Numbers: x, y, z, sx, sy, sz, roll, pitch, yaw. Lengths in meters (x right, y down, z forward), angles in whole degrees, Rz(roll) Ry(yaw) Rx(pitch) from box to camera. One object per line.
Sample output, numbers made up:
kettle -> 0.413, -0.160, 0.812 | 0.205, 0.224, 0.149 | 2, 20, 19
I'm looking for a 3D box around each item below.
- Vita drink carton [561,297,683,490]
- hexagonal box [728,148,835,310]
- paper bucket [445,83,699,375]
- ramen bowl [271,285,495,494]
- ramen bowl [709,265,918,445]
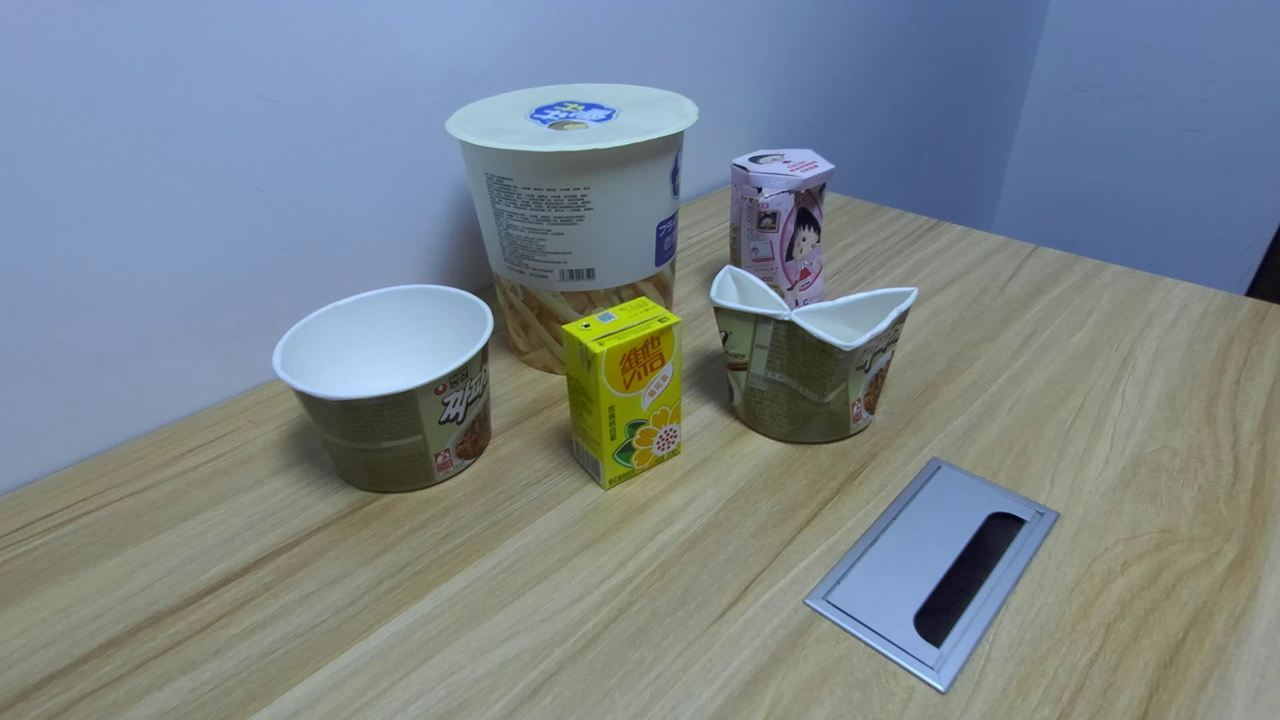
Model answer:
Vita drink carton -> -0.009, 0.021, 0.466 | 0.067, 0.109, 0.043 | -22, 38, -28
hexagonal box -> 0.123, -0.114, 0.642 | 0.091, 0.134, 0.090 | -4, 30, -2
paper bucket -> -0.046, -0.107, 0.586 | 0.198, 0.195, 0.198 | -2, 34, 1
ramen bowl -> -0.166, 0.021, 0.495 | 0.140, 0.095, 0.140 | -1, 34, 1
ramen bowl -> 0.116, -0.011, 0.519 | 0.127, 0.093, 0.112 | 22, 41, 32
